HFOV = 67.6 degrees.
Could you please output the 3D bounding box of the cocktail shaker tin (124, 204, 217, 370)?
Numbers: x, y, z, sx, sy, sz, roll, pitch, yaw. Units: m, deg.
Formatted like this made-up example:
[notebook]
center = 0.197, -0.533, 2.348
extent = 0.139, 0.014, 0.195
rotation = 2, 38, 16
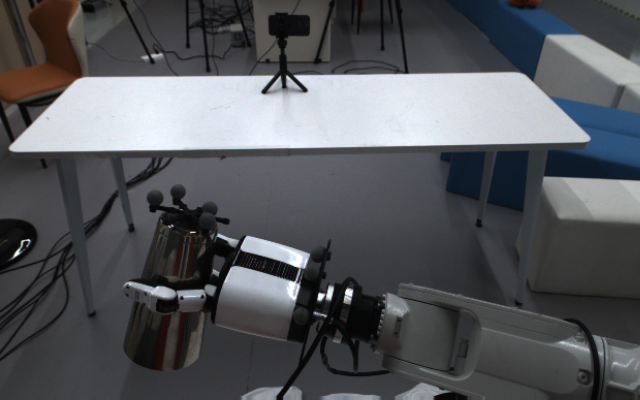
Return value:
[cocktail shaker tin]
center = -0.169, 0.101, 0.568
extent = 0.093, 0.170, 0.093
rotation = 15, 17, -5
